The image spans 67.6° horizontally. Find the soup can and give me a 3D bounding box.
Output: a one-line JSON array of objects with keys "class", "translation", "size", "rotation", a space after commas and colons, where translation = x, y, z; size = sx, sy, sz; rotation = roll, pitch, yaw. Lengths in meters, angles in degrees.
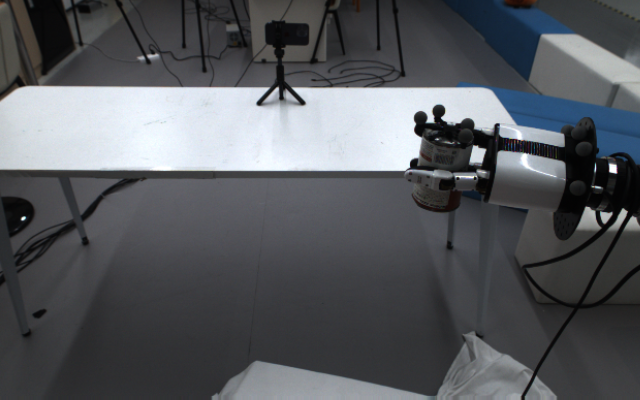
[{"class": "soup can", "translation": [0.166, -0.044, 0.658], "size": [0.067, 0.101, 0.067], "rotation": [2, 32, -1]}]
